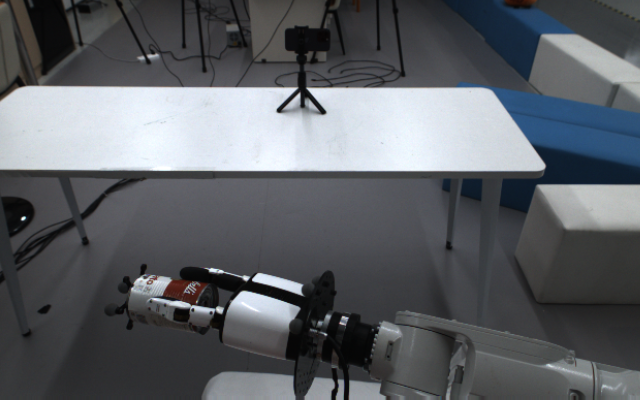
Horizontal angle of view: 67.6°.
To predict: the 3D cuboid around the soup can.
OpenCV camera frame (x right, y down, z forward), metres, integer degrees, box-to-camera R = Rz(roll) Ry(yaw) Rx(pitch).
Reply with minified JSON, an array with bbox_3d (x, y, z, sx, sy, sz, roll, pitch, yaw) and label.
[{"bbox_3d":[-0.195,0.141,0.650,0.101,0.067,0.067,6,35,12],"label":"soup can"}]
